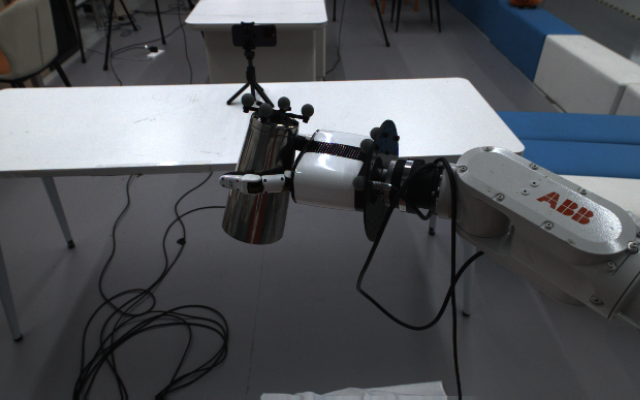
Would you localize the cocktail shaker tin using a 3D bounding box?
[{"bbox_3d":[-0.078,-0.036,0.680,0.093,0.170,0.093,12,24,-5],"label":"cocktail shaker tin"}]
